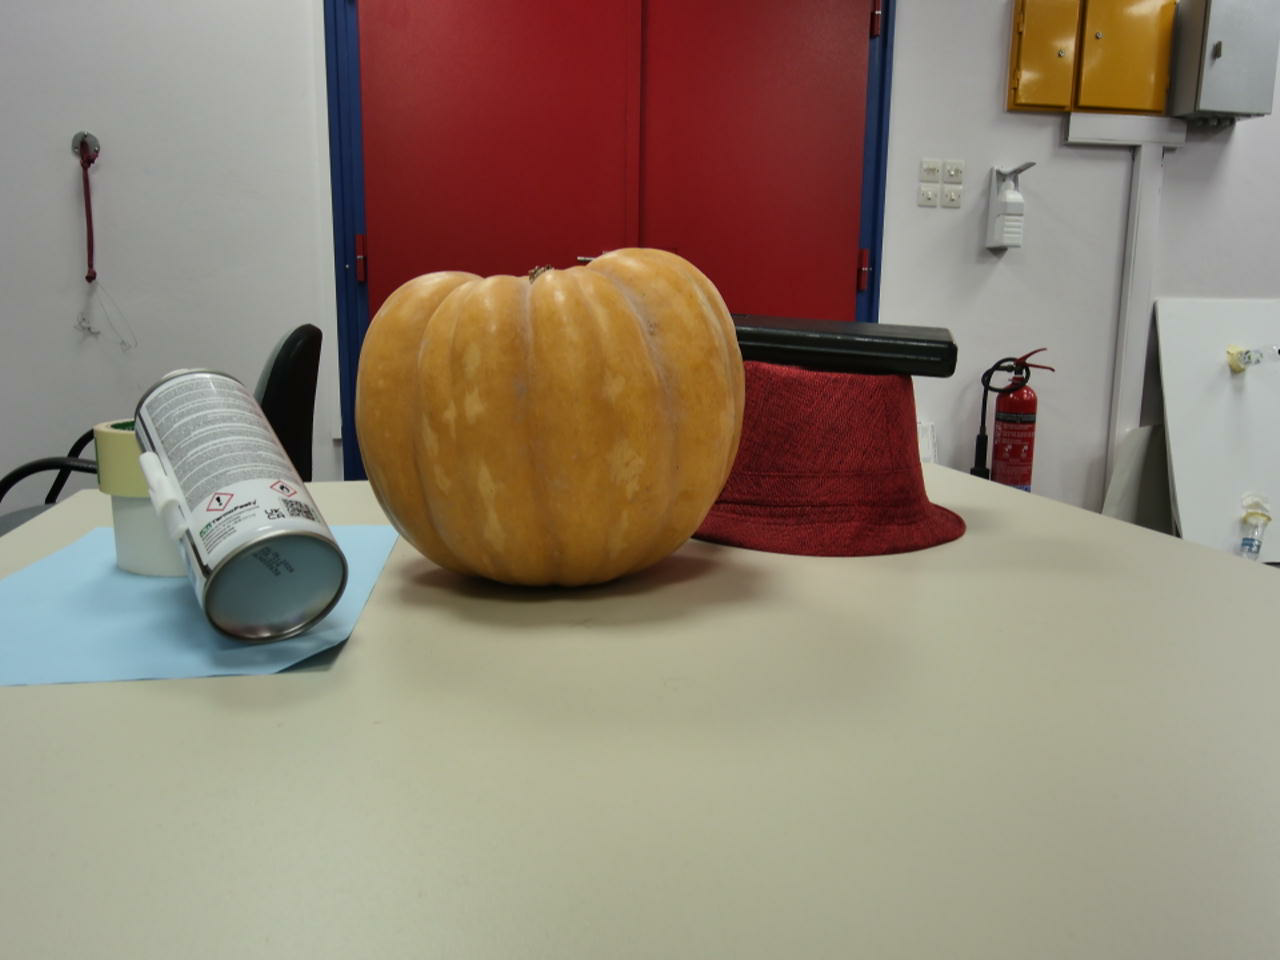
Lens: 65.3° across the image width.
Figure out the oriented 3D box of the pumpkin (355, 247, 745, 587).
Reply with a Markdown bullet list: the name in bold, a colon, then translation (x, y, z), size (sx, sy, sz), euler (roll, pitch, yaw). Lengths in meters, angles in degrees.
- **pumpkin**: translation (-0.048, -0.038, 0.592), size (0.230, 0.194, 0.230), euler (0, 8, 0)
